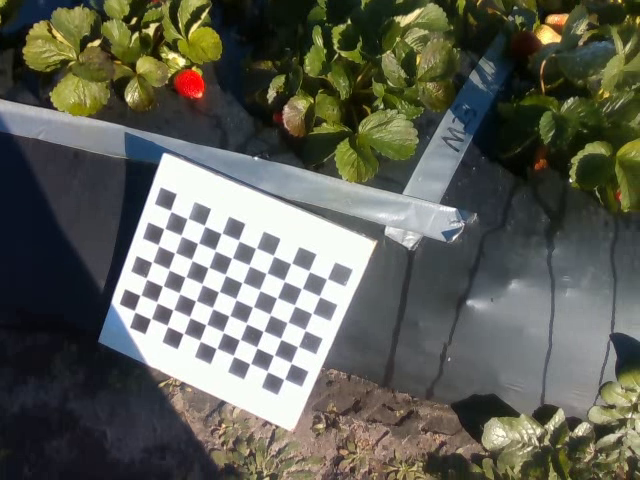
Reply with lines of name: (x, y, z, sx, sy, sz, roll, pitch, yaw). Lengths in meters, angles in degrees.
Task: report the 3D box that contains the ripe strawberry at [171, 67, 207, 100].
ripe strawberry: (-0.178, -0.215, 0.801, 0.045, 0.059, 0.042, -40, -20, 14)
